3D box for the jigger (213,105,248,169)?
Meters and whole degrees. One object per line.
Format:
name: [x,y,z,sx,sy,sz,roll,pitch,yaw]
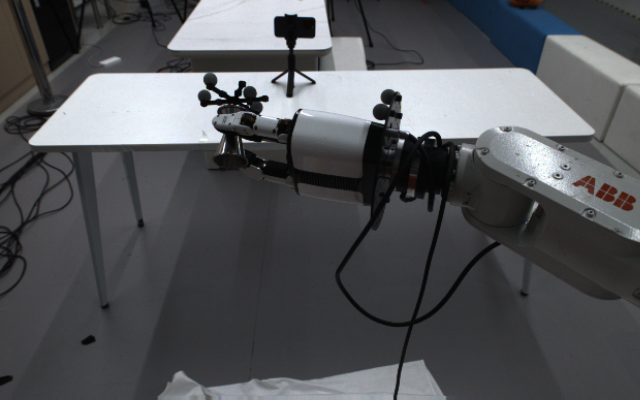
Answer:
jigger: [-0.109,-0.079,0.596,0.043,0.043,0.071,1,70,-2]
